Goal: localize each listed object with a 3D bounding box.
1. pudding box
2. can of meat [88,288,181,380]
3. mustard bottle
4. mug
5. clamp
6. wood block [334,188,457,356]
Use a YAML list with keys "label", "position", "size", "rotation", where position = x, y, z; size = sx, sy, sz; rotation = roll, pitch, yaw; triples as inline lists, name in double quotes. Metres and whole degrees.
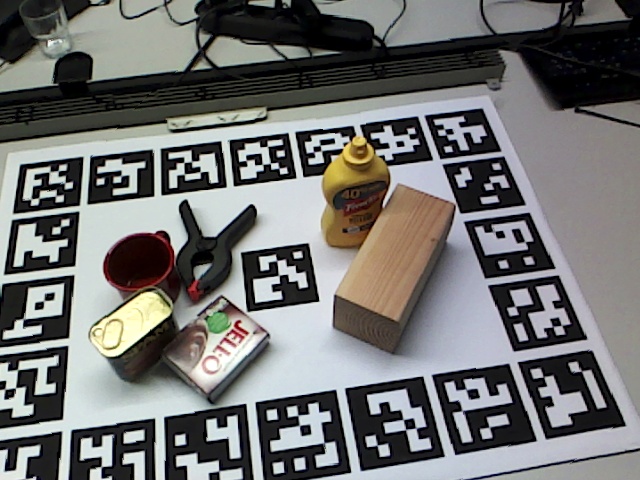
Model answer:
- label: "pudding box"
  position: [-0.132, 0.142, 0.809]
  size: [0.090, 0.038, 0.113]
  rotation: [35, 61, 22]
- label: "can of meat"
  position: [-0.232, 0.122, 0.791]
  size: [0.101, 0.083, 0.058]
  rotation: [-35, 63, -21]
- label: "mustard bottle"
  position: [0.046, -0.071, 0.859]
  size: [0.096, 0.191, 0.059]
  rotation: [-13, 57, -7]
- label: "mug"
  position: [-0.239, 0.049, 0.876]
  size: [0.093, 0.081, 0.117]
  rotation: [10, 58, 8]
- label: "clamp"
  position: [-0.164, 0.008, 0.909]
  size: [0.122, 0.036, 0.165]
  rotation: [8, 58, 5]
- label: "wood block"
  position: [0.104, 0.039, 0.849]
  size: [0.090, 0.090, 0.206]
  rotation: [22, 56, 17]
